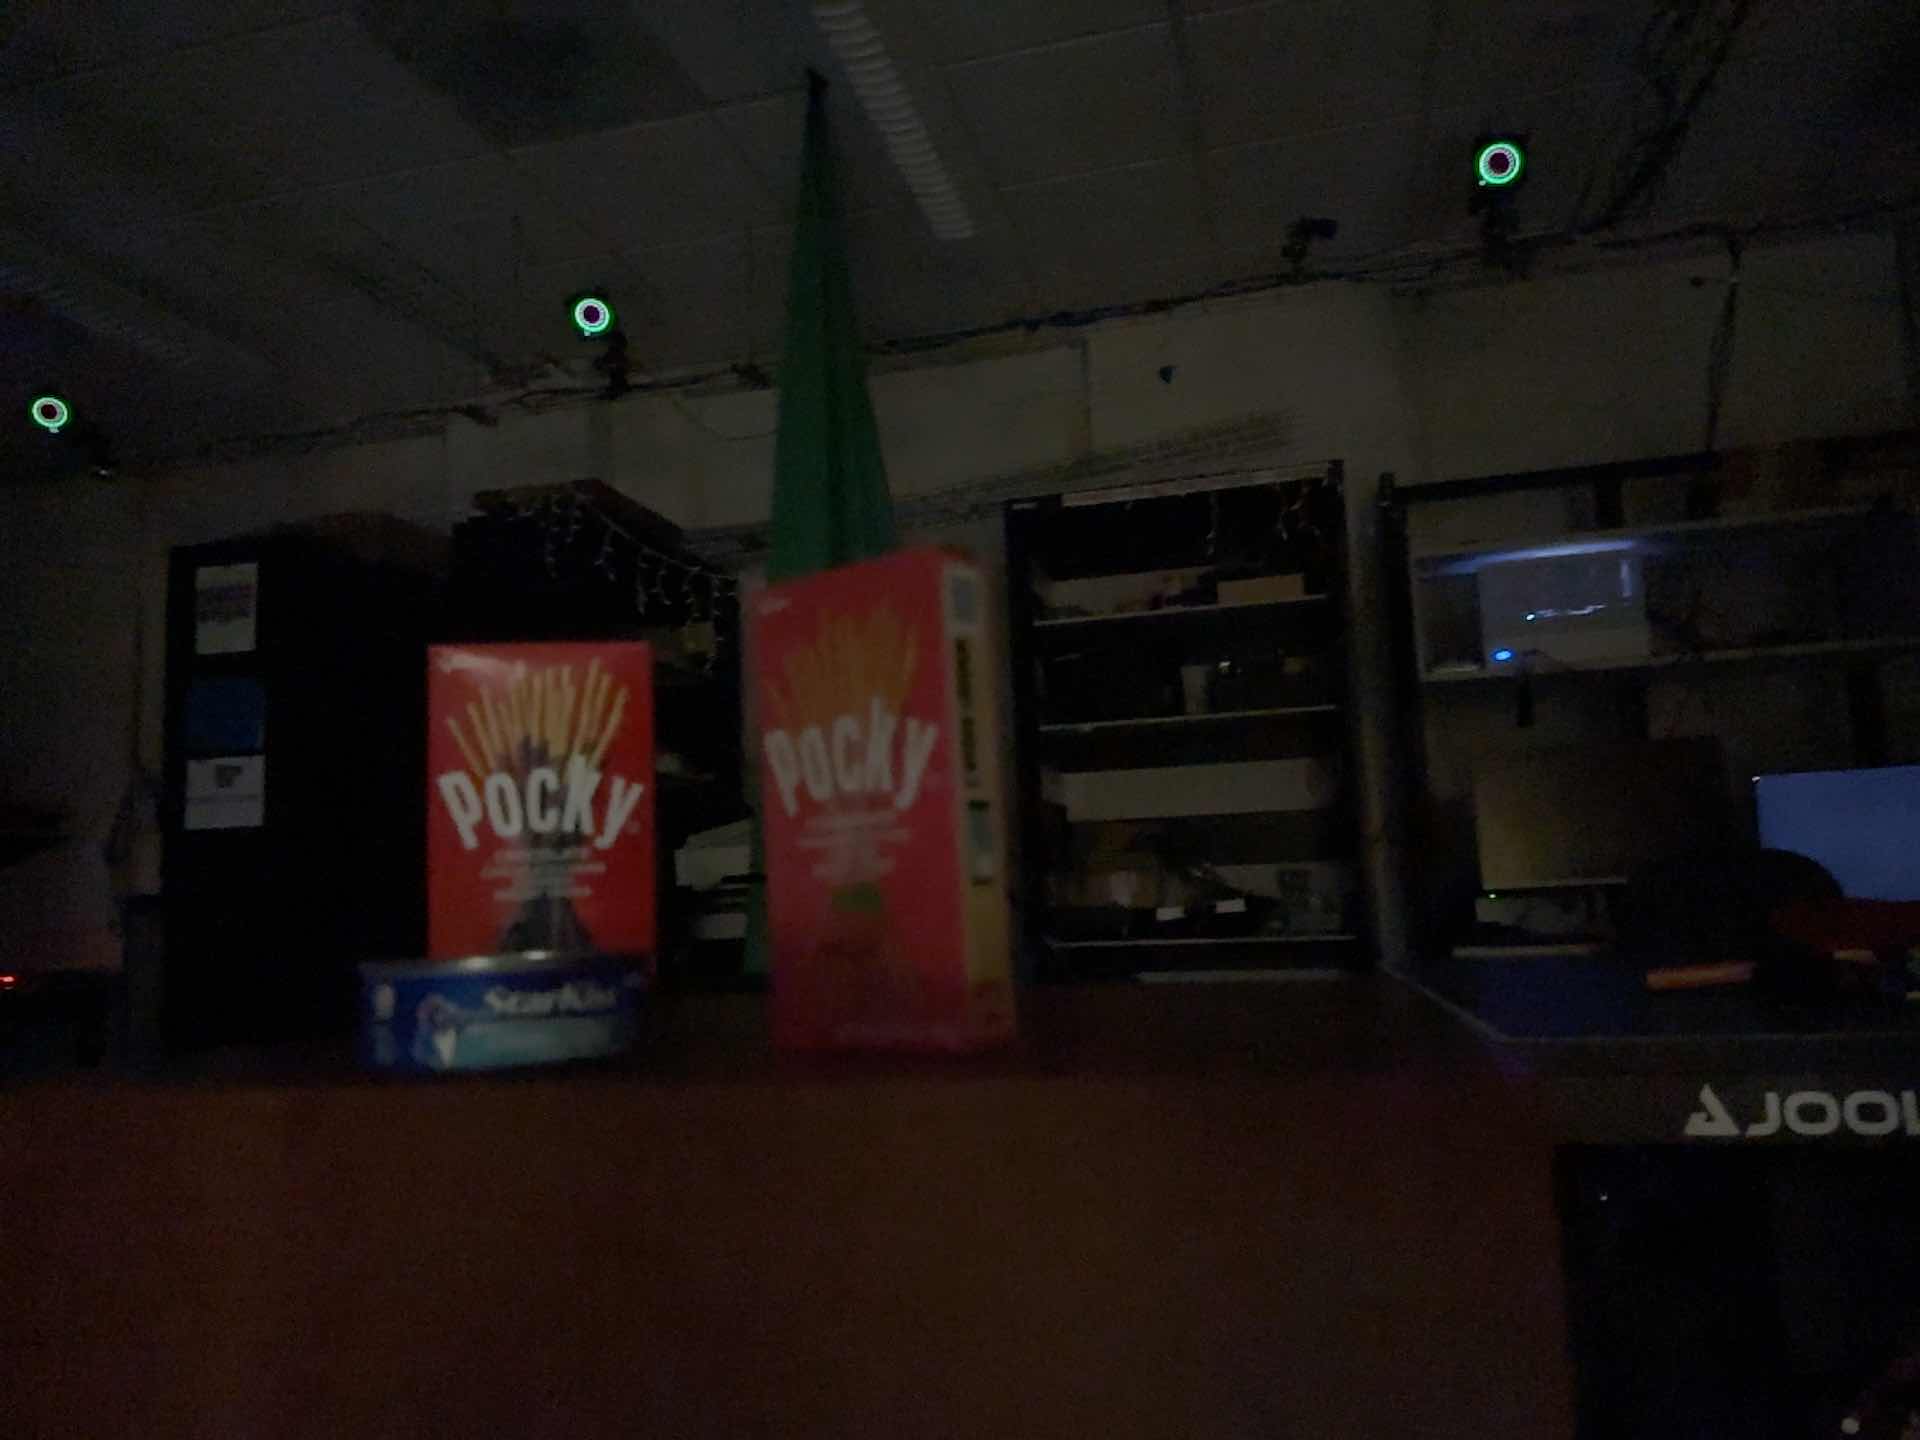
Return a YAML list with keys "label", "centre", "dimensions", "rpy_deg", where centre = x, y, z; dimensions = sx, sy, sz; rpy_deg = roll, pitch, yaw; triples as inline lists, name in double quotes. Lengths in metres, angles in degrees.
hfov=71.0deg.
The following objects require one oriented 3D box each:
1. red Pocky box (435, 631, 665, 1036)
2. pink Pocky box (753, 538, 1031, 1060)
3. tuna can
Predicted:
- label: "red Pocky box"
  centre: [-0.157, 0.043, 0.516]
  dimensions: [0.083, 0.155, 0.028]
  rpy_deg: [-2, -5, -2]
- label: "pink Pocky box"
  centre: [-0.024, 0.026, 0.424]
  dimensions: [0.084, 0.155, 0.029]
  rpy_deg: [-8, -7, 37]
- label: "tuna can"
  centre: [-0.140, 0.089, 0.423]
  dimensions: [0.083, 0.034, 0.083]
  rpy_deg: [-3, -7, 0]
